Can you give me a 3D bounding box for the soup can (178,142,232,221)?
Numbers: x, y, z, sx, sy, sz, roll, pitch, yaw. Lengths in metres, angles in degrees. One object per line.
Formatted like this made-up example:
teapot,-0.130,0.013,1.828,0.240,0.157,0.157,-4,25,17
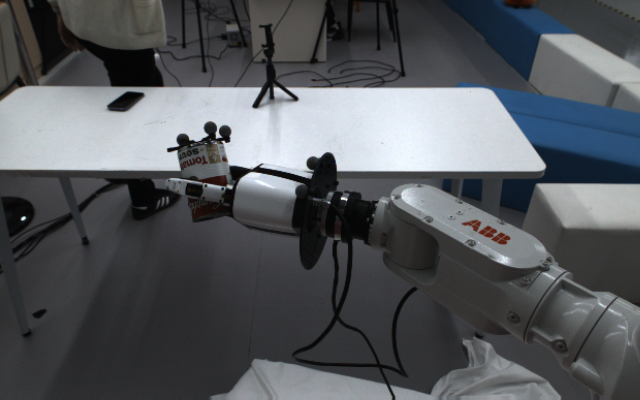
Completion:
soup can,-0.156,-0.024,0.682,0.067,0.101,0.067,-15,-2,-1
